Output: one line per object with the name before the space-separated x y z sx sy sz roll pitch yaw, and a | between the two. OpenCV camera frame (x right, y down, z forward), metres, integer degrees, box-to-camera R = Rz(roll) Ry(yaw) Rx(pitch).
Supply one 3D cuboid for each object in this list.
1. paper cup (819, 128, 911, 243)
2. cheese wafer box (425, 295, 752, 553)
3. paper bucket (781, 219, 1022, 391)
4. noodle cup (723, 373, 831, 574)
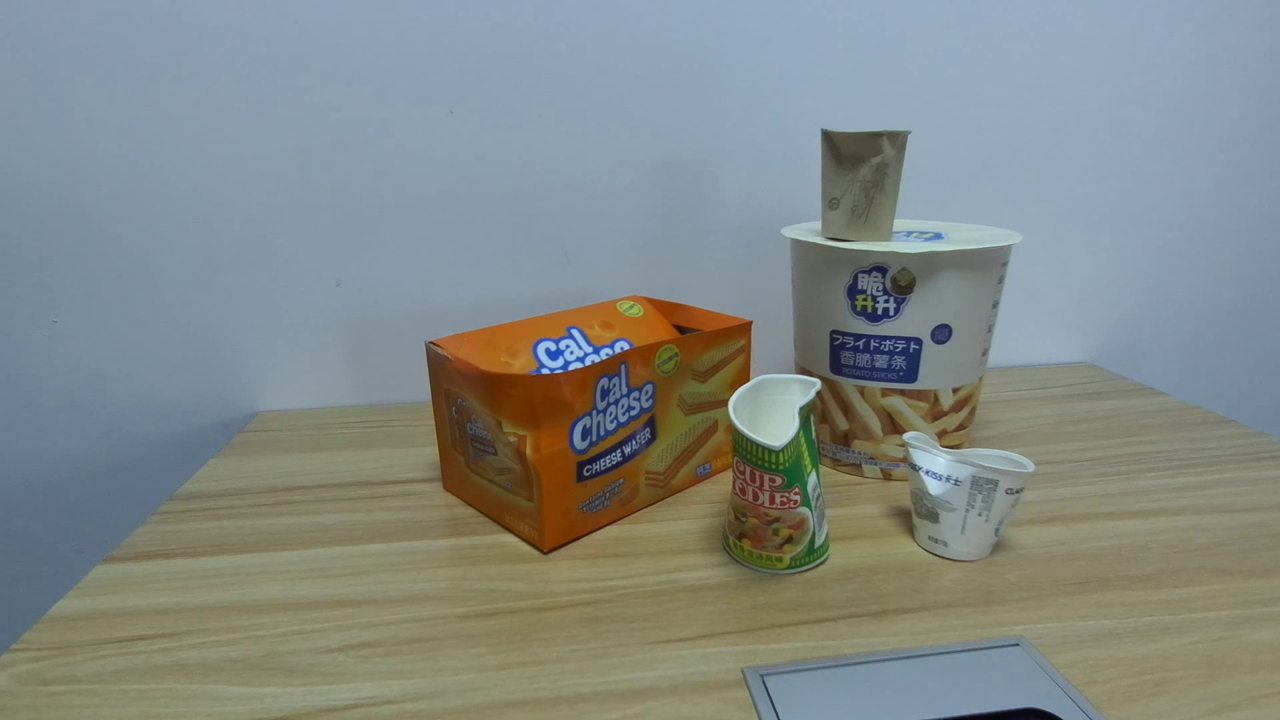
paper cup | 0.177 -0.137 0.550 0.072 0.084 0.066 -8 18 -36
cheese wafer box | -0.034 0.038 0.573 0.231 0.132 0.151 -15 23 -40
paper bucket | 0.213 -0.015 0.615 0.198 0.194 0.198 -1 18 0
noodle cup | 0.091 0.074 0.463 0.070 0.111 0.115 15 24 40
